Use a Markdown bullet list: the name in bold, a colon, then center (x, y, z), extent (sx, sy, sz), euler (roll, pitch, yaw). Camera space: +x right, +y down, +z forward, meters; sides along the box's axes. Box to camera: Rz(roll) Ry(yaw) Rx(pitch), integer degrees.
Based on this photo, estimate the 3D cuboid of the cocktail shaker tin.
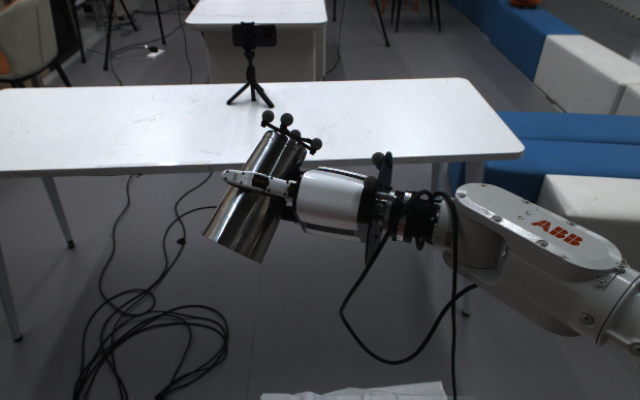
- **cocktail shaker tin**: center (-0.083, -0.010, 0.677), extent (0.093, 0.093, 0.170), euler (21, 81, 25)
